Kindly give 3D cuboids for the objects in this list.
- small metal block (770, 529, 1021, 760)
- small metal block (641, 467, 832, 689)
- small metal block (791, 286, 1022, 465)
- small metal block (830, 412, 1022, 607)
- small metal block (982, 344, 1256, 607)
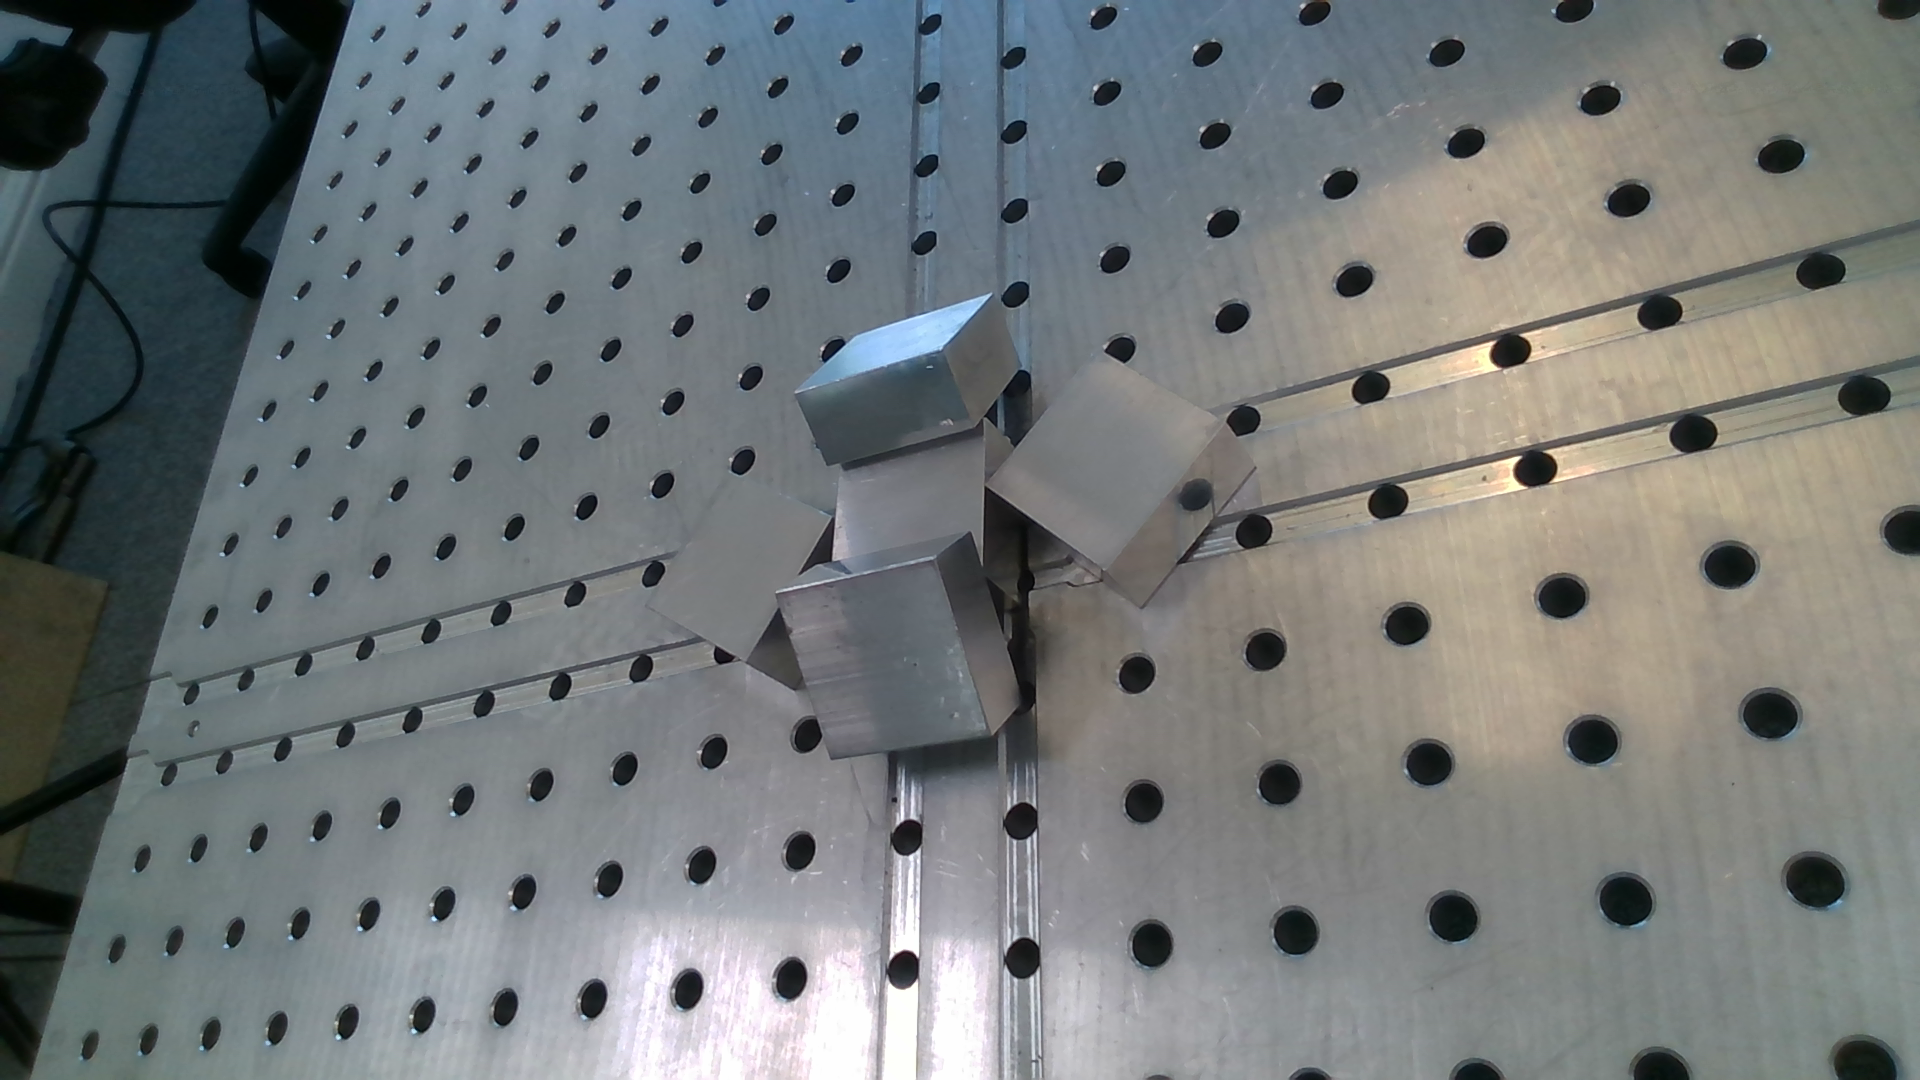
[{"bbox_3d":[-0.017,0.029,0.373,0.050,0.025,0.050,-12,101,26],"label":"small metal block"},{"bbox_3d":[-0.063,0.011,0.428,0.050,0.025,0.050,23,77,38],"label":"small metal block"},{"bbox_3d":[-0.015,-0.050,0.415,0.050,0.025,0.050,-13,23,27],"label":"small metal block"},{"bbox_3d":[-0.010,-0.004,0.403,0.050,0.025,0.050,-13,60,25],"label":"small metal block"},{"bbox_3d":[0.043,-0.018,0.379,0.050,0.025,0.050,-50,51,-2],"label":"small metal block"}]
